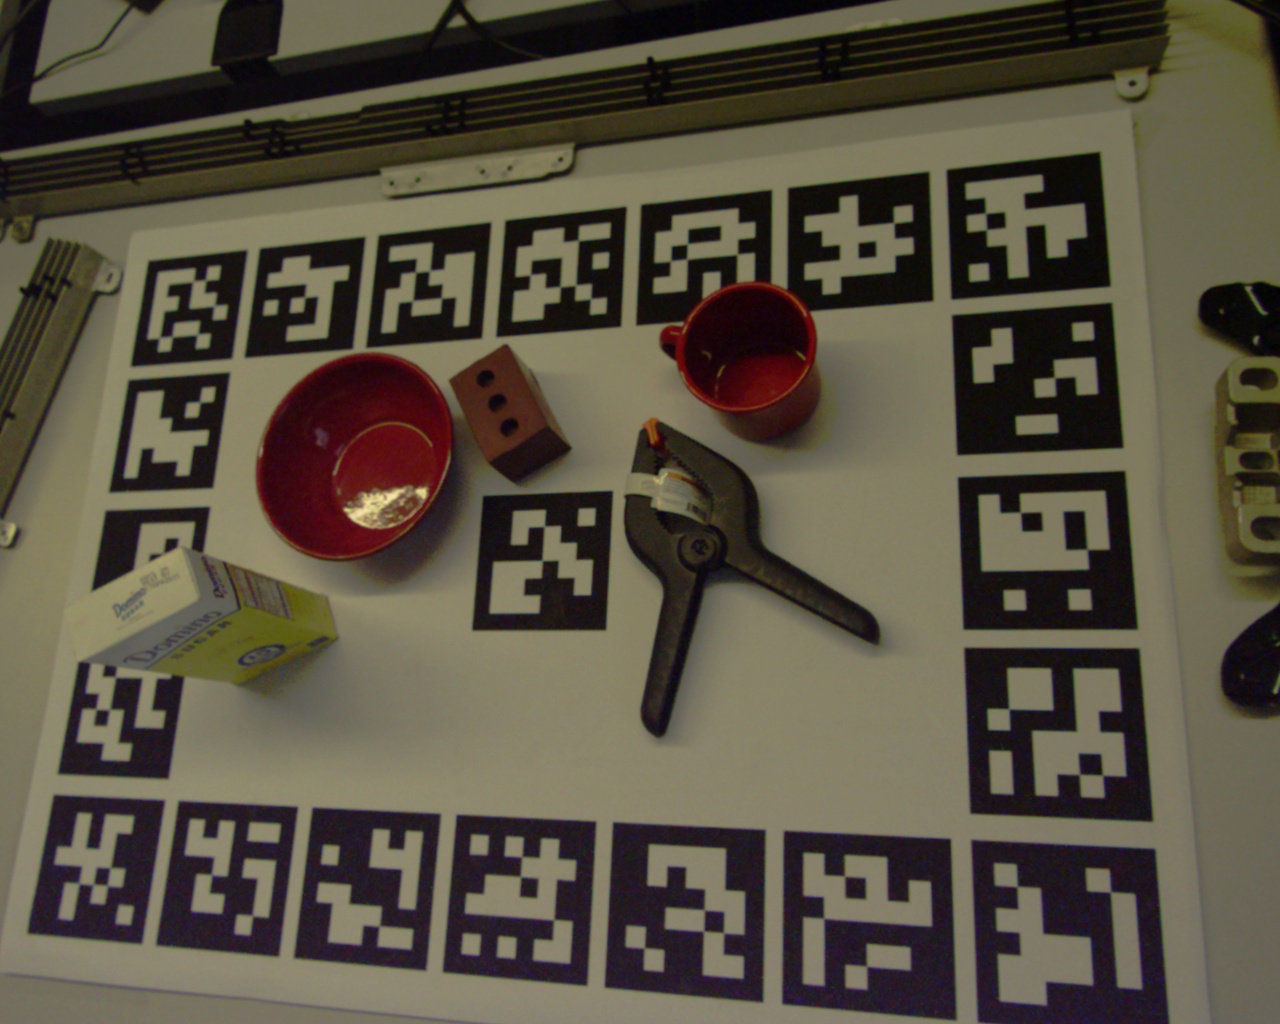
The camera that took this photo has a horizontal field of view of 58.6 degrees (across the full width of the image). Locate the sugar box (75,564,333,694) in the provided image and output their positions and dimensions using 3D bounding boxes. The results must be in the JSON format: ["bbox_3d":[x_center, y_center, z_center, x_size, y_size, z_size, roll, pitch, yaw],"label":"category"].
[{"bbox_3d":[-0.305,0.089,0.819,0.093,0.175,0.045,-26,72,7],"label":"sugar box"}]

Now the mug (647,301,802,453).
[{"bbox_3d":[0.059,-0.095,0.805,0.118,0.081,0.093,25,84,17],"label":"mug"}]

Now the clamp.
[{"bbox_3d":[0.030,0.035,0.800,0.166,0.036,0.204,-26,71,11],"label":"clamp"}]

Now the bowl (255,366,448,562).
[{"bbox_3d":[-0.215,-0.029,0.887,0.163,0.055,0.162,-4,75,15],"label":"bowl"}]

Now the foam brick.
[{"bbox_3d":[-0.099,-0.058,0.868,0.053,0.051,0.078,-29,71,8],"label":"foam brick"}]
